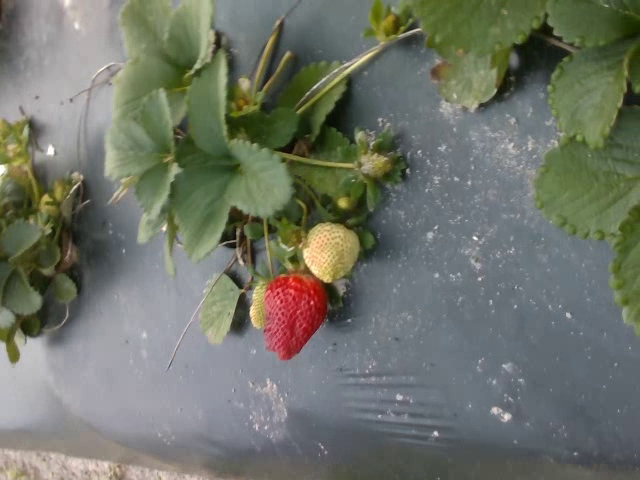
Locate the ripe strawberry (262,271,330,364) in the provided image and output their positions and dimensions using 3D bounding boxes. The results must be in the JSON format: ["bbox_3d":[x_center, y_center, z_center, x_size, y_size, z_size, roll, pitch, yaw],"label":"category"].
[{"bbox_3d":[-0.015,0.048,0.372,0.045,0.059,0.046,29,-25,-34],"label":"ripe strawberry"}]
